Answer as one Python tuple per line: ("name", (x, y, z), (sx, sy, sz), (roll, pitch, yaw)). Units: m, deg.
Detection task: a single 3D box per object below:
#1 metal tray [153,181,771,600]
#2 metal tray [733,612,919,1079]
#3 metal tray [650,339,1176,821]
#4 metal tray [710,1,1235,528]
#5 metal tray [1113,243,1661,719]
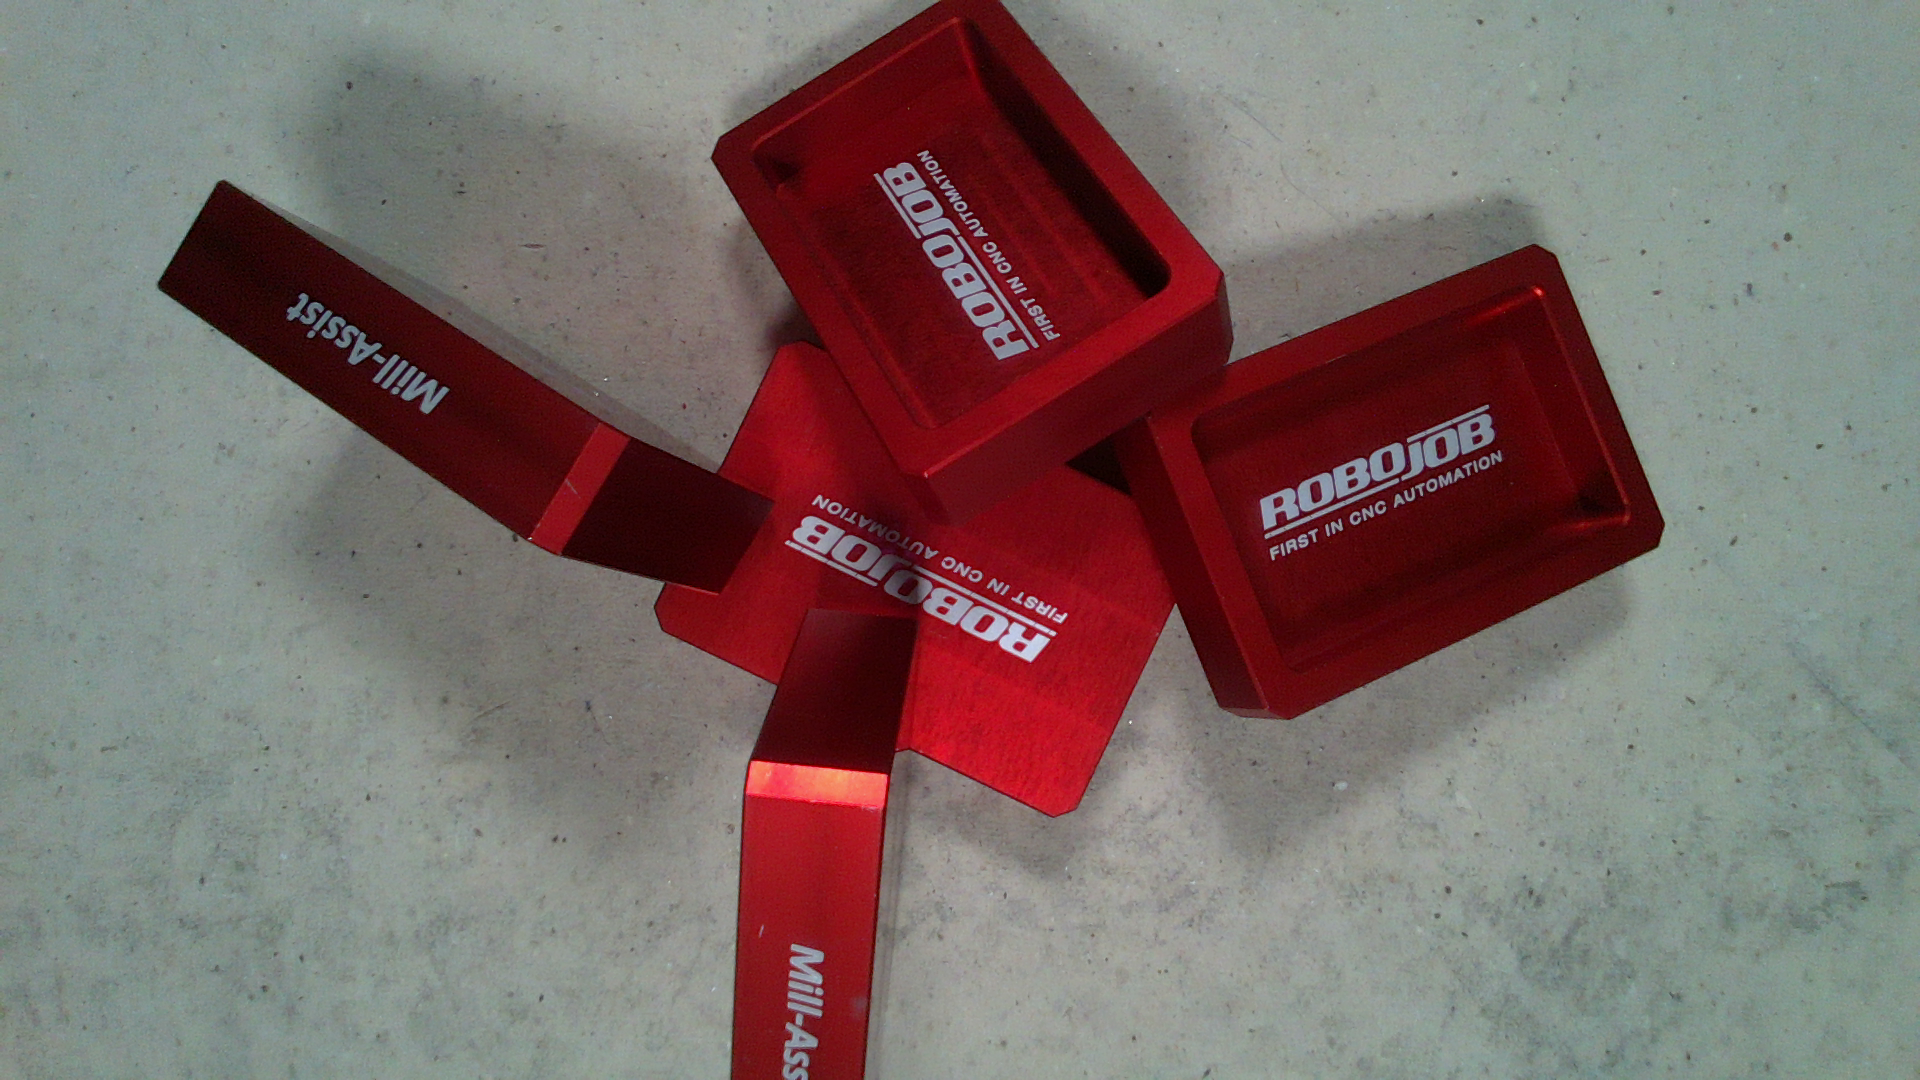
("metal tray", (-0.121, -0.035, 0.347), (0.130, 0.090, 0.030), (32, 90, 17))
("metal tray", (-0.033, 0.095, 0.344), (0.030, 0.090, 0.130), (5, 111, 1))
("metal tray", (-0.009, 0.011, 0.393), (0.130, 0.030, 0.090), (25, 90, 0))
("metal tray", (0.000, -0.078, 0.363), (0.090, 0.030, 0.130), (-32, 61, 0))
("metal tray", (0.117, -0.017, 0.377), (0.130, 0.030, 0.090), (-22, 90, -15))
